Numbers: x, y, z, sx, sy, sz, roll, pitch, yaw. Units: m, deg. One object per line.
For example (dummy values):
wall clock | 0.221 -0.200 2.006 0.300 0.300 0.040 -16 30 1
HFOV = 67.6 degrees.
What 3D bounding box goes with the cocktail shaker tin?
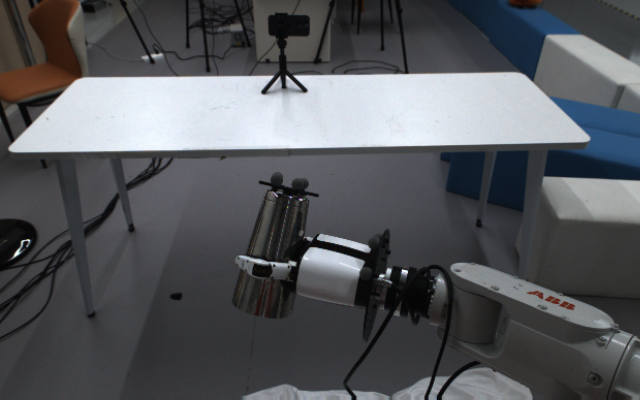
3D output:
cocktail shaker tin | -0.065 0.075 0.707 0.093 0.170 0.093 13 5 -1
